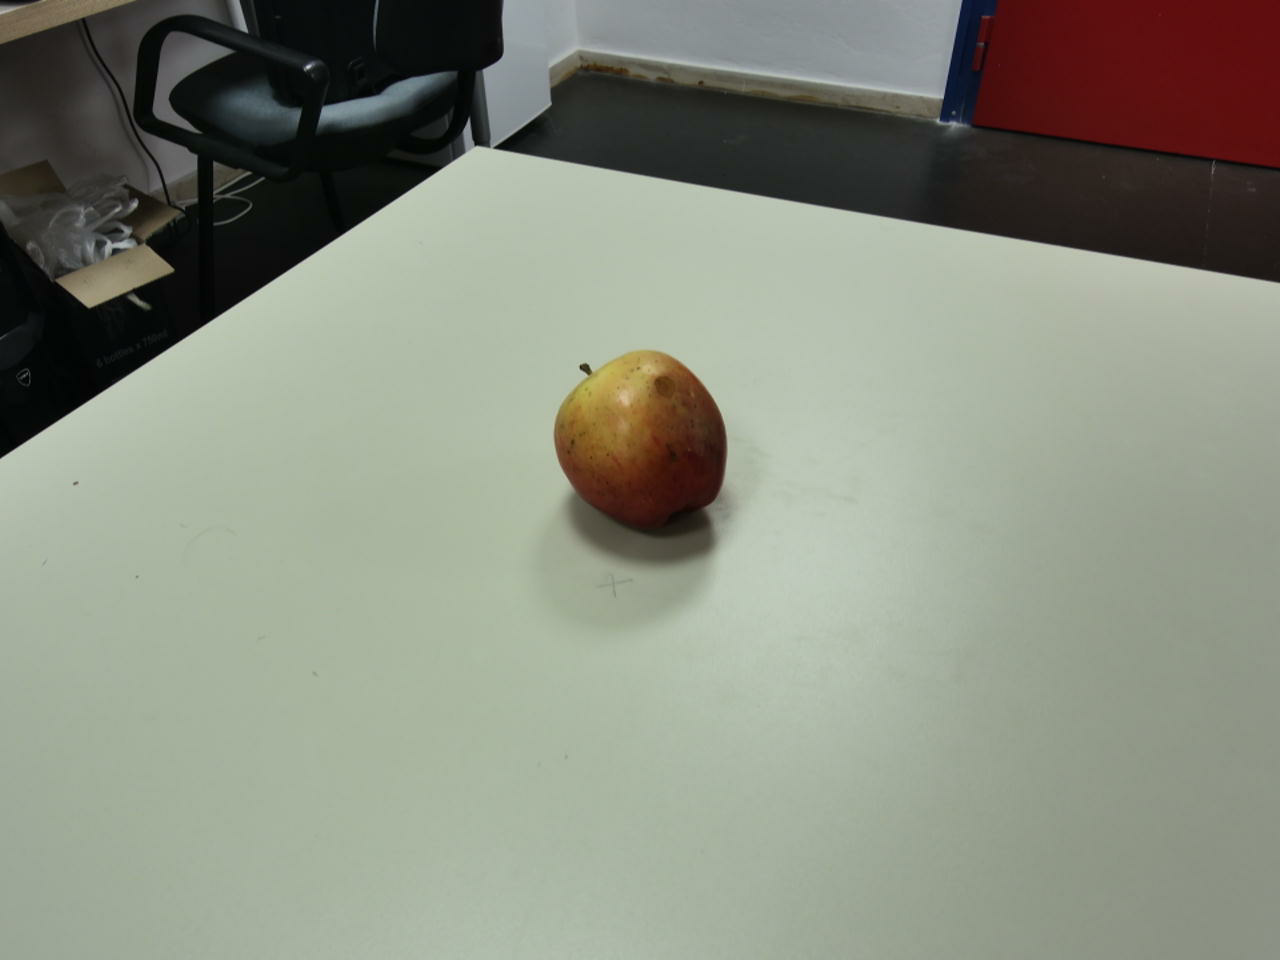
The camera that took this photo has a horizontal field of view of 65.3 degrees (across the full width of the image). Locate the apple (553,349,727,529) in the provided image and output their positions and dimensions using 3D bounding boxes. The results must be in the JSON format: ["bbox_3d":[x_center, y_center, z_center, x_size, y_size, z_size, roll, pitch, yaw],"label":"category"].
[{"bbox_3d":[0.000,-0.022,0.505,0.086,0.084,0.093,-7,39,-8],"label":"apple"}]
